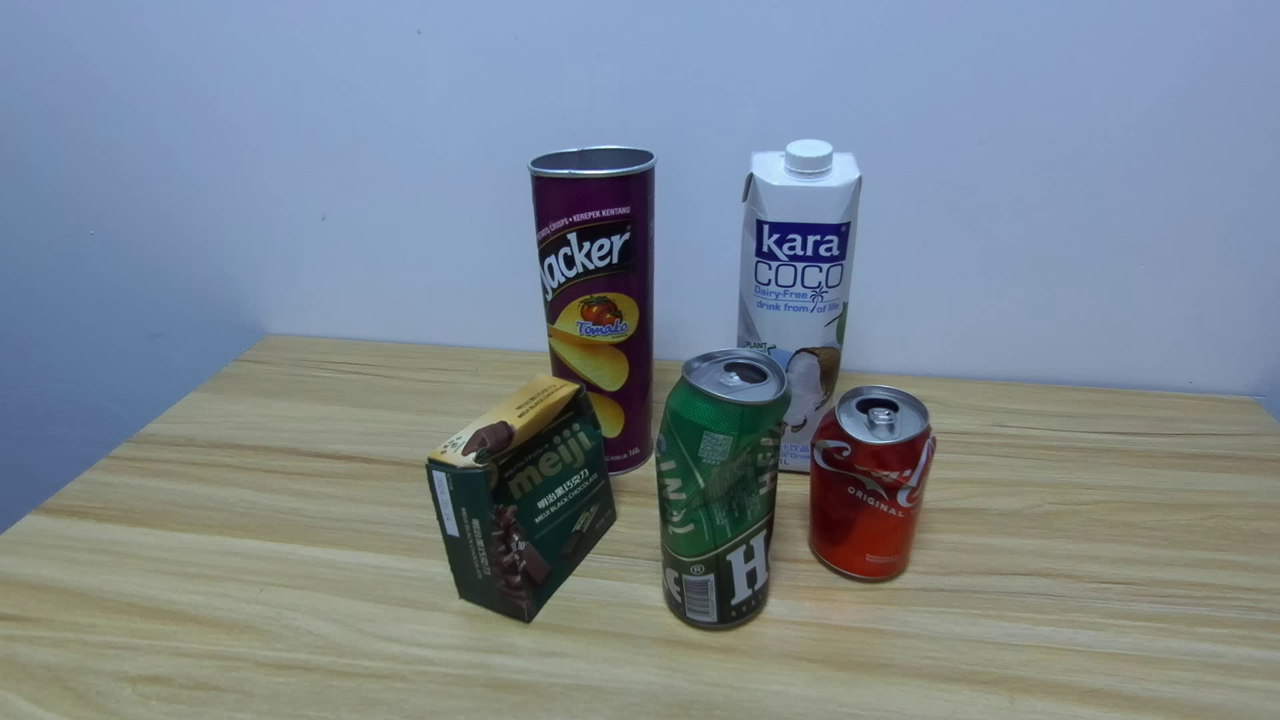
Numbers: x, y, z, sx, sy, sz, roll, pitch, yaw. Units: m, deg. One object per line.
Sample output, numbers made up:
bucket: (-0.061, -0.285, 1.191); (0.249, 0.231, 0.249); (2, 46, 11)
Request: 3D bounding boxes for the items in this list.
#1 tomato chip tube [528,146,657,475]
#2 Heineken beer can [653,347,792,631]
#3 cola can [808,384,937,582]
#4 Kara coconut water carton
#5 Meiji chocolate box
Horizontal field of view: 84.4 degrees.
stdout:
tomato chip tube: (-0.028, -0.030, 0.521); (0.080, 0.234, 0.077); (12, 31, 22)
Heineken beer can: (0.045, 0.077, 0.404); (0.078, 0.164, 0.066); (0, 30, -4)
cola can: (0.149, 0.078, 0.449); (0.066, 0.117, 0.072); (-22, 36, -34)
Kara coconut water carton: (0.109, -0.035, 0.510); (0.077, 0.245, 0.075); (3, 29, 10)
Meiji chocolate box: (-0.071, 0.086, 0.457); (0.058, 0.111, 0.113); (6, 28, 29)
